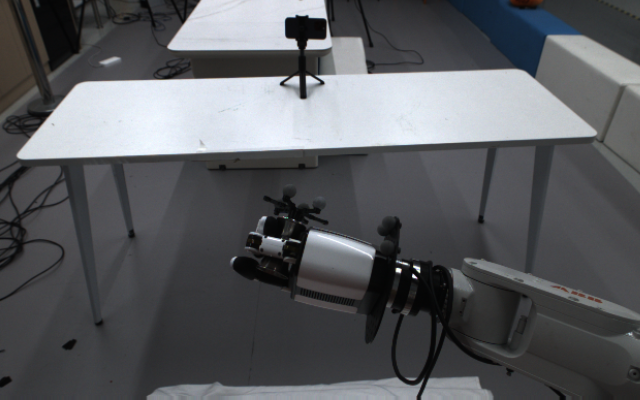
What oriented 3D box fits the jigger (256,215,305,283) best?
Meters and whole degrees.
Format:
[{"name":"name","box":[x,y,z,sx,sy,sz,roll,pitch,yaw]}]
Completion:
[{"name":"jigger","box":[-0.046,0.057,0.601,0.043,0.043,0.071,15,70,18]}]
